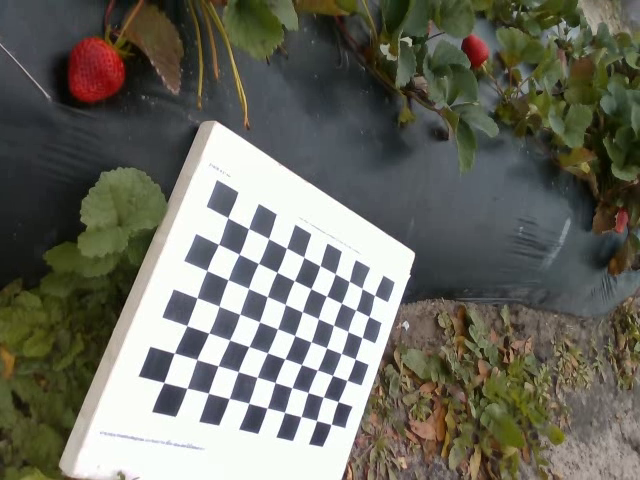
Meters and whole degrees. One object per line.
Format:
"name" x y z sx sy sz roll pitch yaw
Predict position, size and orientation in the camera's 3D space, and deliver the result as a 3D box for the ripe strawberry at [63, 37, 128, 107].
"ripe strawberry" -0.100 -0.074 0.267 0.022 0.033 0.029 3 -35 49
